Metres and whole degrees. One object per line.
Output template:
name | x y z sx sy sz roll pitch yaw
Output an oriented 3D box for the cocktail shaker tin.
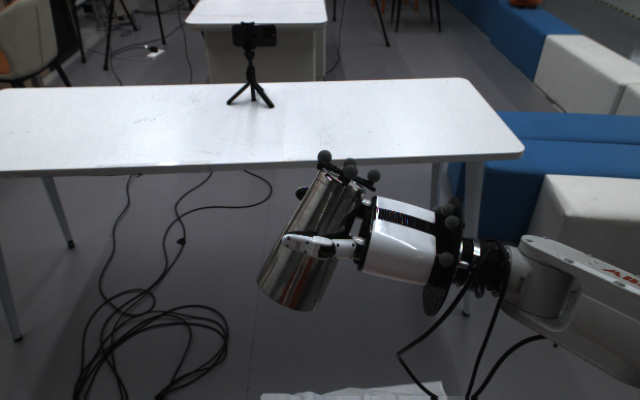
cocktail shaker tin | -0.004 0.048 0.633 0.093 0.170 0.093 24 12 -6
